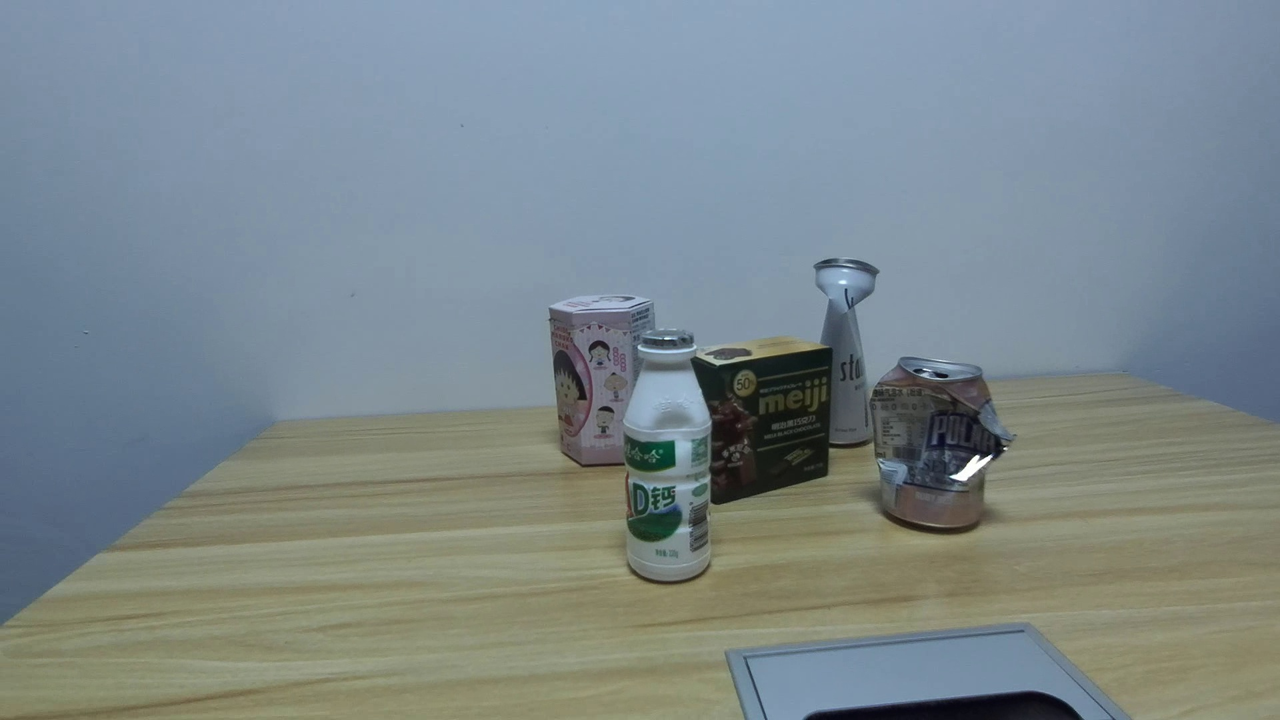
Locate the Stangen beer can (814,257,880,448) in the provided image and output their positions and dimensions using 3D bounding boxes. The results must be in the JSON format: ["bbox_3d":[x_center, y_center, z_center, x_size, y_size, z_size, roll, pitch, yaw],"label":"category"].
[{"bbox_3d":[0.181,-0.008,0.632,0.066,0.162,0.077,-9,16,-19],"label":"Stangen beer can"}]

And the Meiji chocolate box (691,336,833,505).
[{"bbox_3d":[0.091,0.044,0.549,0.110,0.109,0.056,-8,15,-26],"label":"Meiji chocolate box"}]

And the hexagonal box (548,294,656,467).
[{"bbox_3d":[-0.032,0.015,0.622,0.084,0.136,0.091,-11,17,-32],"label":"hexagonal box"}]

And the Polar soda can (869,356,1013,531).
[{"bbox_3d":[0.201,0.056,0.476,0.074,0.114,0.070,-8,20,-12],"label":"Polar soda can"}]

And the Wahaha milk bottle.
[{"bbox_3d":[0.017,0.062,0.422,0.053,0.136,0.053,0,13,0],"label":"Wahaha milk bottle"}]
